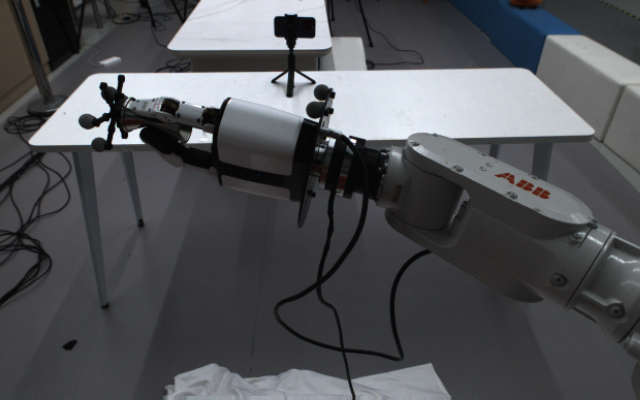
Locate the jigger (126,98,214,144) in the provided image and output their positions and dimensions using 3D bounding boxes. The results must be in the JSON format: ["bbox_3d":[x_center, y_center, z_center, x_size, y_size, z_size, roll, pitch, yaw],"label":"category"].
[{"bbox_3d":[-0.178,-0.095,0.554,0.071,0.043,0.043,10,35,2],"label":"jigger"}]
